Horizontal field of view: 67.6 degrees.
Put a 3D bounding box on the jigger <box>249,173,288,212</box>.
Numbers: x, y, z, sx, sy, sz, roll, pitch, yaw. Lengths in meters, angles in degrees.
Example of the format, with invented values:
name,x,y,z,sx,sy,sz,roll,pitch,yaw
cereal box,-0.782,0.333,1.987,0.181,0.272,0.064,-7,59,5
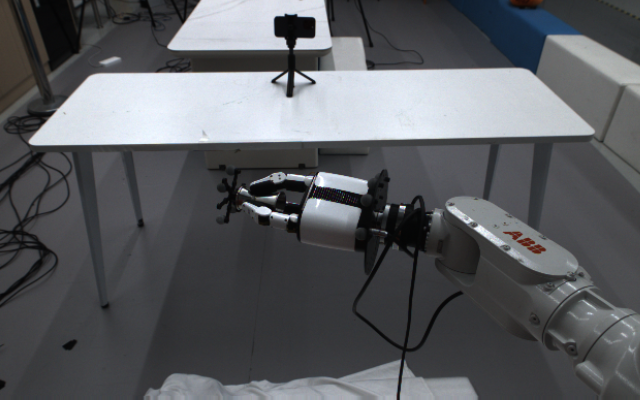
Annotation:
name,x,y,z,sx,sy,sz,roll,pitch,yaw
jigger,-0.087,0.000,0.761,0.071,0.043,0.043,11,36,15
